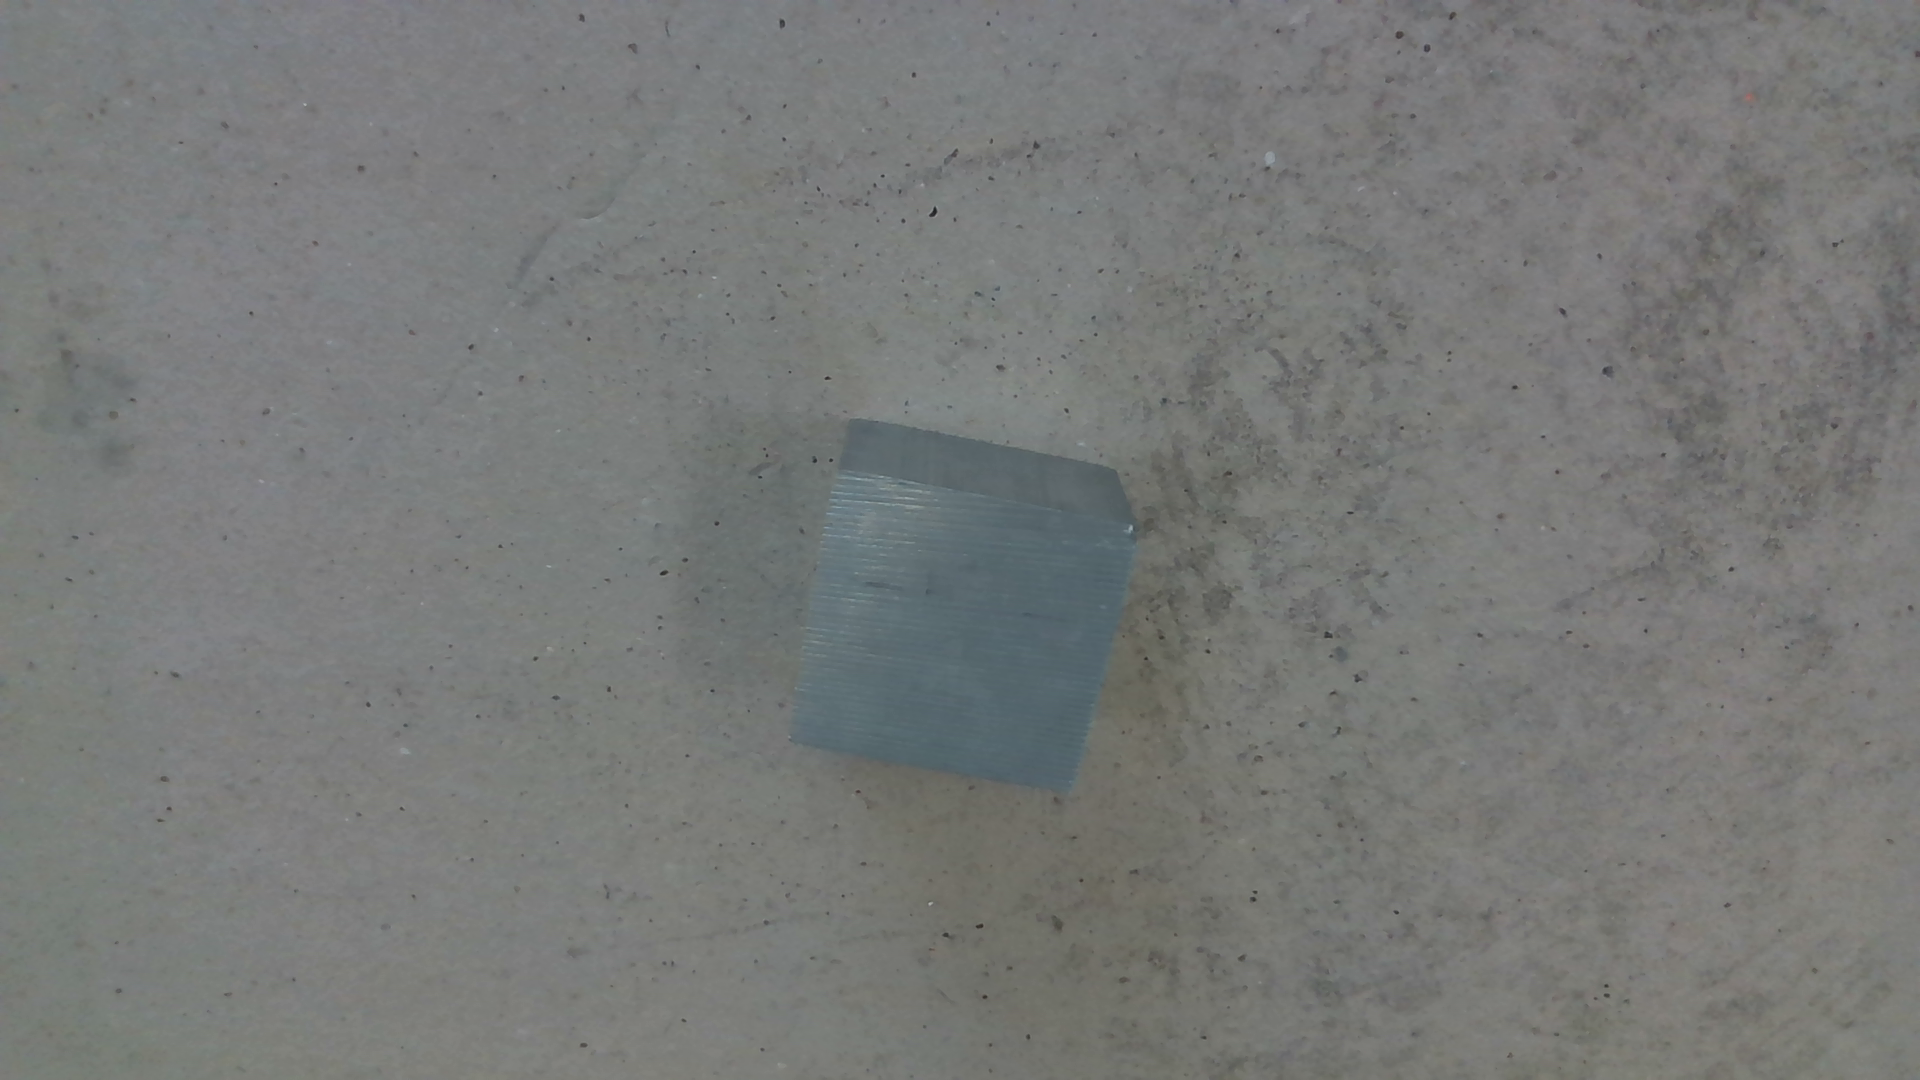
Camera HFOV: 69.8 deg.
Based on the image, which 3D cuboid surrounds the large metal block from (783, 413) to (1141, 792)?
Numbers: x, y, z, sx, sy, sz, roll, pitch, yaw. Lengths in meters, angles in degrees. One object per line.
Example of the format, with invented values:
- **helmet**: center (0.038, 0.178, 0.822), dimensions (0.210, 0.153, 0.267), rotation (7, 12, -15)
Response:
- **large metal block**: center (-0.001, 0.017, 0.386), dimensions (0.080, 0.050, 0.080), rotation (11, 111, -4)
